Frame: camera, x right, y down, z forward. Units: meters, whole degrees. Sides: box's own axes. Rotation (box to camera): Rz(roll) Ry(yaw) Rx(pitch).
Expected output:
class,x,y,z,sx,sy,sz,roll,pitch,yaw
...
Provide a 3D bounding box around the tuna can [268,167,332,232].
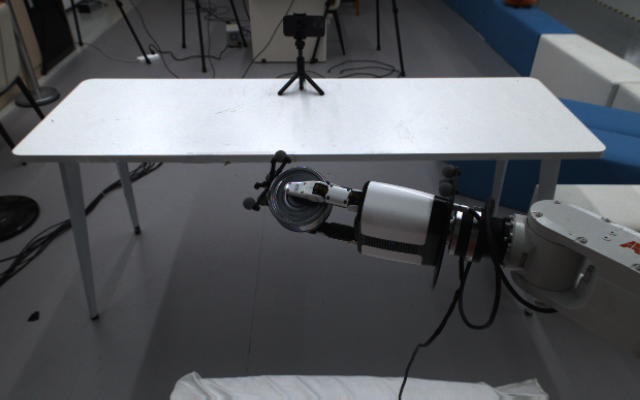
class,x,y,z,sx,sy,sz,roll,pitch,yaw
tuna can,-0.023,0.002,0.652,0.085,0.034,0.085,-2,72,5
